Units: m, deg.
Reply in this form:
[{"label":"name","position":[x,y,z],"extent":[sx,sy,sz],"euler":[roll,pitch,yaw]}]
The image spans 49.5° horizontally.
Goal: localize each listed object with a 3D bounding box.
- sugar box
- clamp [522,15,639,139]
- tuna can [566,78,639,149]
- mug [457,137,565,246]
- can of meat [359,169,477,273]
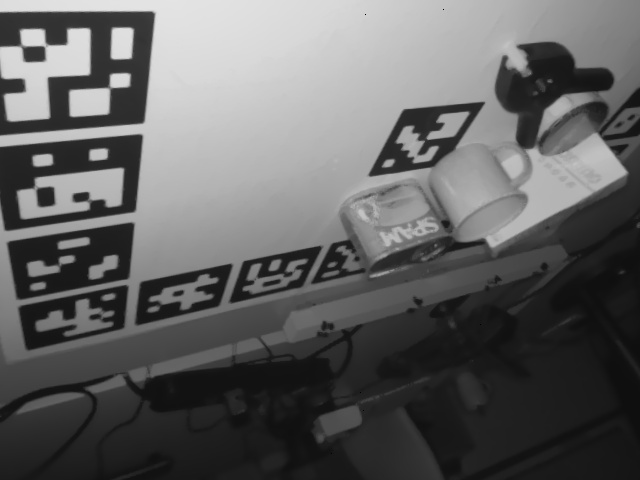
[{"label":"sugar box","position":[0.286,-0.069,0.791],"extent":[0.176,0.093,0.045],"euler":[-28,152,8]},{"label":"clamp","position":[0.244,-0.163,0.665],"extent":[0.120,0.036,0.167],"euler":[-35,145,25]},{"label":"tuna can","position":[0.302,-0.139,0.738],"extent":[0.086,0.034,0.085],"euler":[-19,148,-11]},{"label":"mug","position":[0.207,-0.061,0.738],"extent":[0.094,0.081,0.115],"euler":[10,134,-44]},{"label":"can of meat","position":[0.101,-0.022,0.737],"extent":[0.103,0.084,0.057],"euler":[-13,150,-17]}]
